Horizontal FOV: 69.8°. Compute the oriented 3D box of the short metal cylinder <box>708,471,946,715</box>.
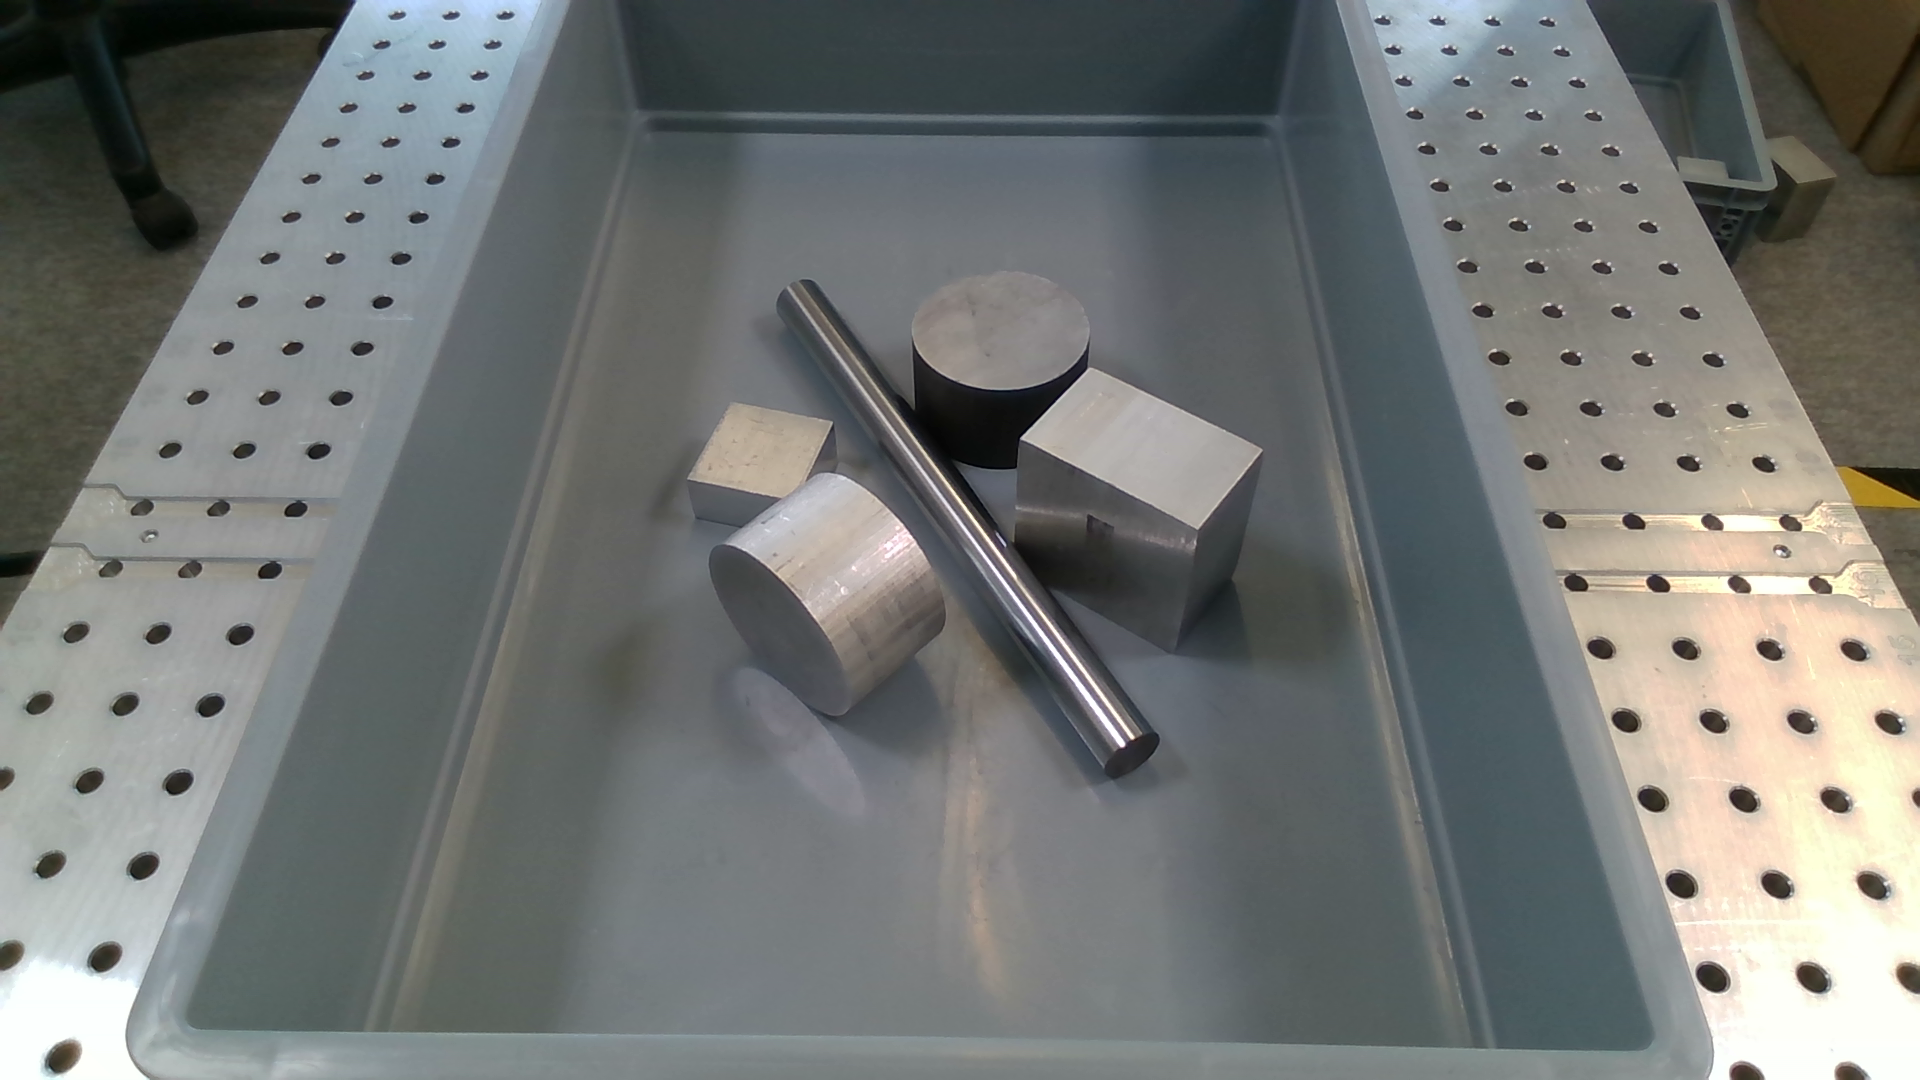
[{"bbox_3d":[-0.052,0.021,0.533,0.080,0.080,0.050,36,59,26],"label":"short metal cylinder"}]

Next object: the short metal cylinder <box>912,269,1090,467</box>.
[{"bbox_3d":[0.018,-0.080,0.636,0.080,0.050,0.080,0,50,0],"label":"short metal cylinder"}]

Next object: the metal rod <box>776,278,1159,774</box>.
[{"bbox_3d":[-0.008,-0.020,0.603,0.025,0.025,0.299,-23,54,-18],"label":"metal rod"}]

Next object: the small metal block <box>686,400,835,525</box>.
[{"bbox_3d":[-0.087,-0.032,0.612,0.050,0.025,0.050,12,51,10],"label":"small metal block"}]

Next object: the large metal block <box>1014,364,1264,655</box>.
[{"bbox_3d":[0.070,-0.012,0.560,0.080,0.080,0.050,29,56,22],"label":"large metal block"}]
